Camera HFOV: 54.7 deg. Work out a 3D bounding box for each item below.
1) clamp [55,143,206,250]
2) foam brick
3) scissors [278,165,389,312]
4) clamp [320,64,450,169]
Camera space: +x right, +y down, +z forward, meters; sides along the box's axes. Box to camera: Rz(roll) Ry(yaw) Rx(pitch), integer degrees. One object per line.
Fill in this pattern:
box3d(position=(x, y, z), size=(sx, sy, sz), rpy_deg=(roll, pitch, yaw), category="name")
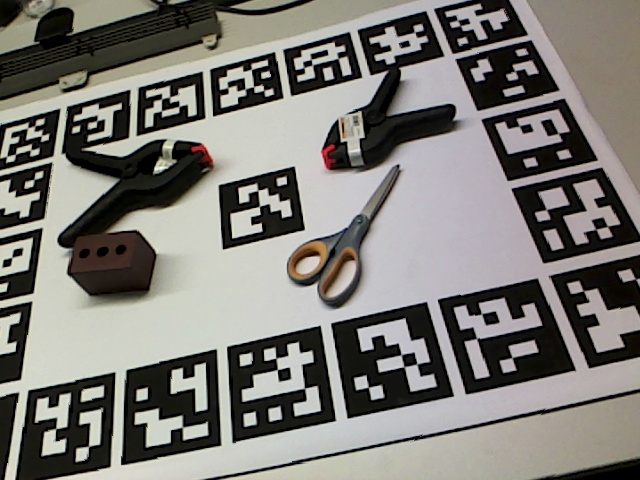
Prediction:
box3d(position=(-0.251, -0.079, 0.820), size=(0.203, 0.036, 0.166), rpy_deg=(-17, 52, 2), category="clamp")
box3d(position=(-0.248, 0.033, 0.739), size=(0.078, 0.051, 0.053), rpy_deg=(-10, 57, 13), category="foam brick")
box3d(position=(0.029, -0.013, 0.714), size=(0.088, 0.016, 0.202), rpy_deg=(24, 65, 18), category="scissors")
box3d(position=(0.067, -0.148, 0.789), size=(0.165, 0.036, 0.122), rpy_deg=(-37, 64, -10), category="clamp")
